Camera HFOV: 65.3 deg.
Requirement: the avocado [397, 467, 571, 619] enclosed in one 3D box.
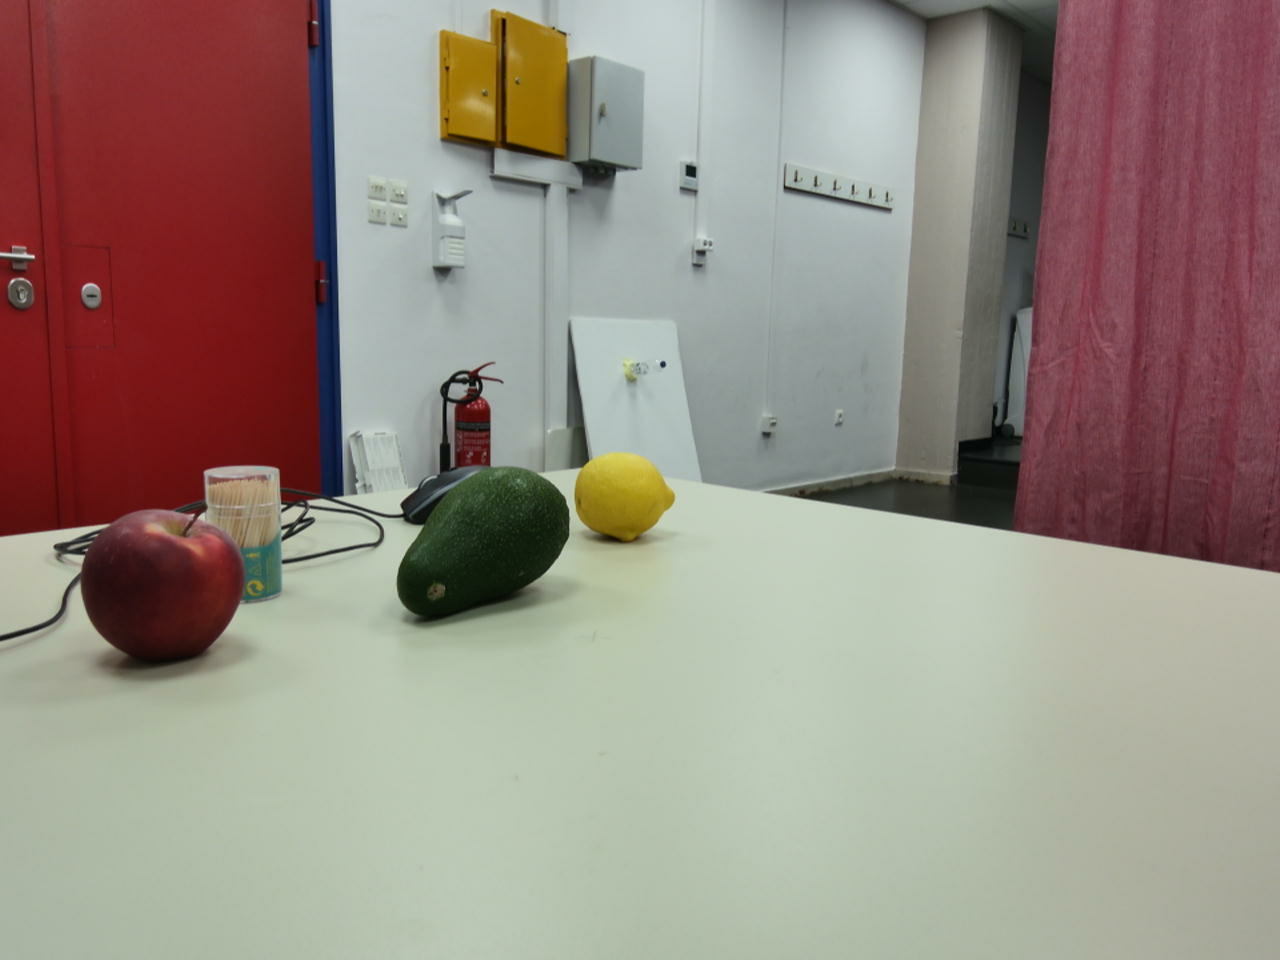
[{"bbox_3d":[-0.094,0.031,0.583,0.123,0.076,0.074,-5,9,-41],"label":"avocado"}]
